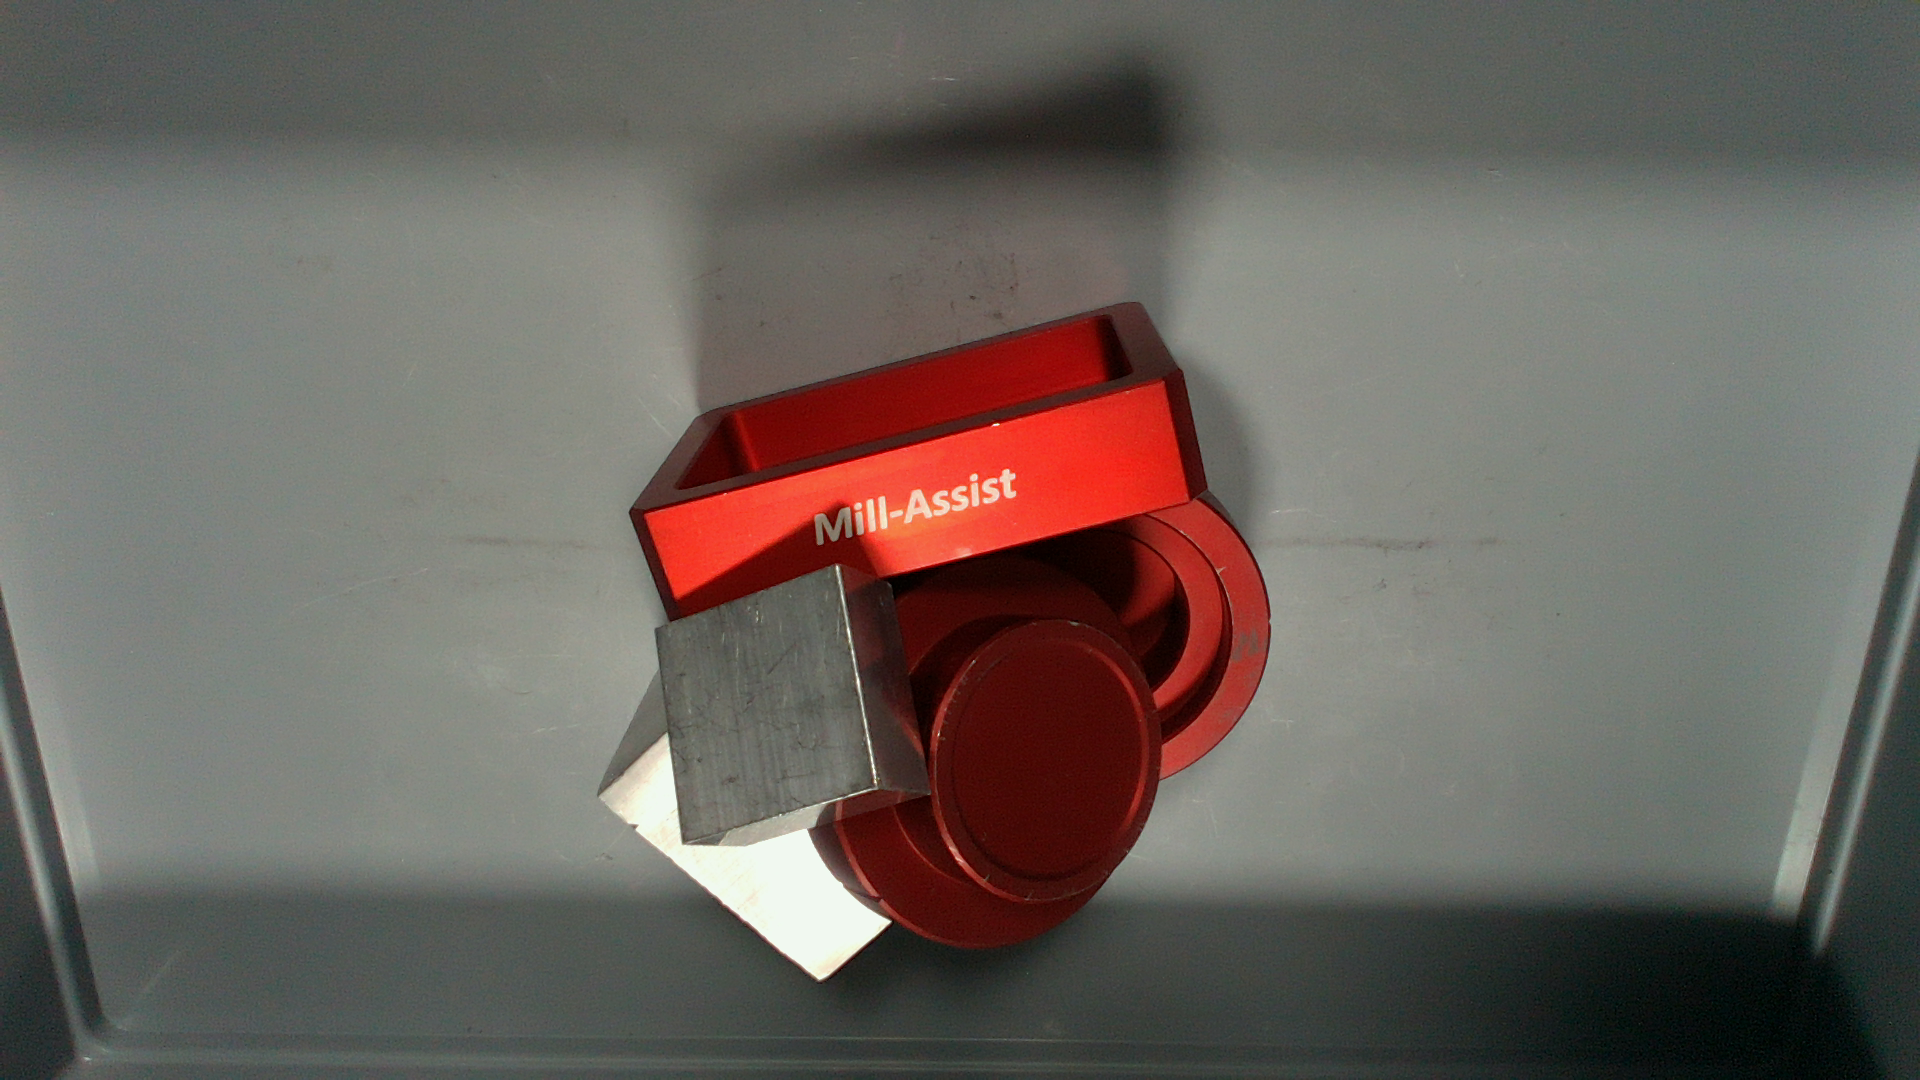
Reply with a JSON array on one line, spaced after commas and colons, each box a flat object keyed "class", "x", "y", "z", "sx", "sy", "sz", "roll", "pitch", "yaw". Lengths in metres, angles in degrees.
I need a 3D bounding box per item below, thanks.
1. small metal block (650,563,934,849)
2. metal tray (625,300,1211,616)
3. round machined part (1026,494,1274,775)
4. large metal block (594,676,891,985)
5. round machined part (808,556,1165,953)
[{"class": "small metal block", "x": -0.038, "y": 0.038, "z": 0.308, "sx": 0.050, "sy": 0.025, "sz": 0.050, "roll": -19, "pitch": 71, "yaw": 20}, {"class": "metal tray", "x": -0.010, "y": -0.023, "z": 0.349, "sx": 0.130, "sy": 0.090, "sz": 0.030, "roll": -14, "pitch": 110, "yaw": 5}, {"class": "round machined part", "x": 0.036, "y": 0.019, "z": 0.392, "sx": 0.098, "sy": 0.042, "sz": 0.098, "roll": 0, "pitch": 110, "yaw": 0}, {"class": "large metal block", "x": -0.046, "y": 0.061, "z": 0.386, "sx": 0.050, "sy": 0.080, "sz": 0.080, "roll": -42, "pitch": 105, "yaw": 14}, {"class": "round machined part", "x": 0.012, "y": 0.053, "z": 0.342, "sx": 0.098, "sy": 0.042, "sz": 0.098, "roll": 1, "pitch": 88, "yaw": -33}]
